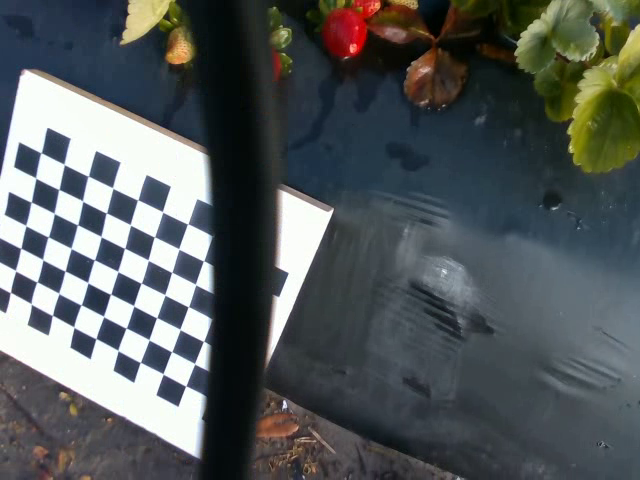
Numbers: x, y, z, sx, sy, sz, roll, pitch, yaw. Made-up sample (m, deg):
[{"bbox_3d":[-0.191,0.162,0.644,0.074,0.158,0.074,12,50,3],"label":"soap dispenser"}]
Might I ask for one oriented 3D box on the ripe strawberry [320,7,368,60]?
[{"bbox_3d":[0.021,-0.170,0.512,0.044,0.055,0.041,-39,-50,21],"label":"ripe strawberry"}]
